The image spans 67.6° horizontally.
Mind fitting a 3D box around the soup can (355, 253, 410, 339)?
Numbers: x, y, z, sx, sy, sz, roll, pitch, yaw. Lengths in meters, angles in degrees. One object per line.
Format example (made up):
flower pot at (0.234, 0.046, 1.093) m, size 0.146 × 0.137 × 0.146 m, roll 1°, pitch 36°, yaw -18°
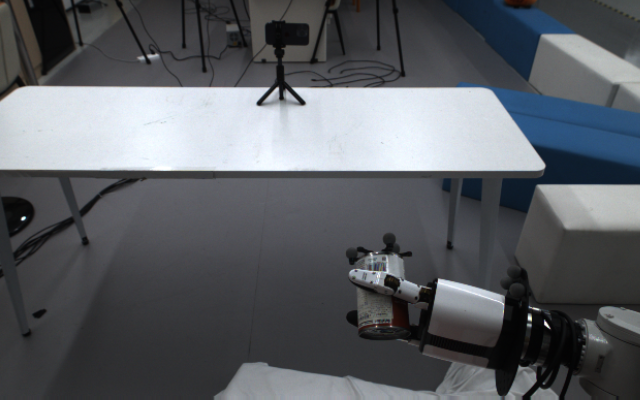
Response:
soup can at (0.086, 0.128, 0.642) m, size 0.067 × 0.067 × 0.101 m, roll 0°, pitch 62°, yaw -2°
